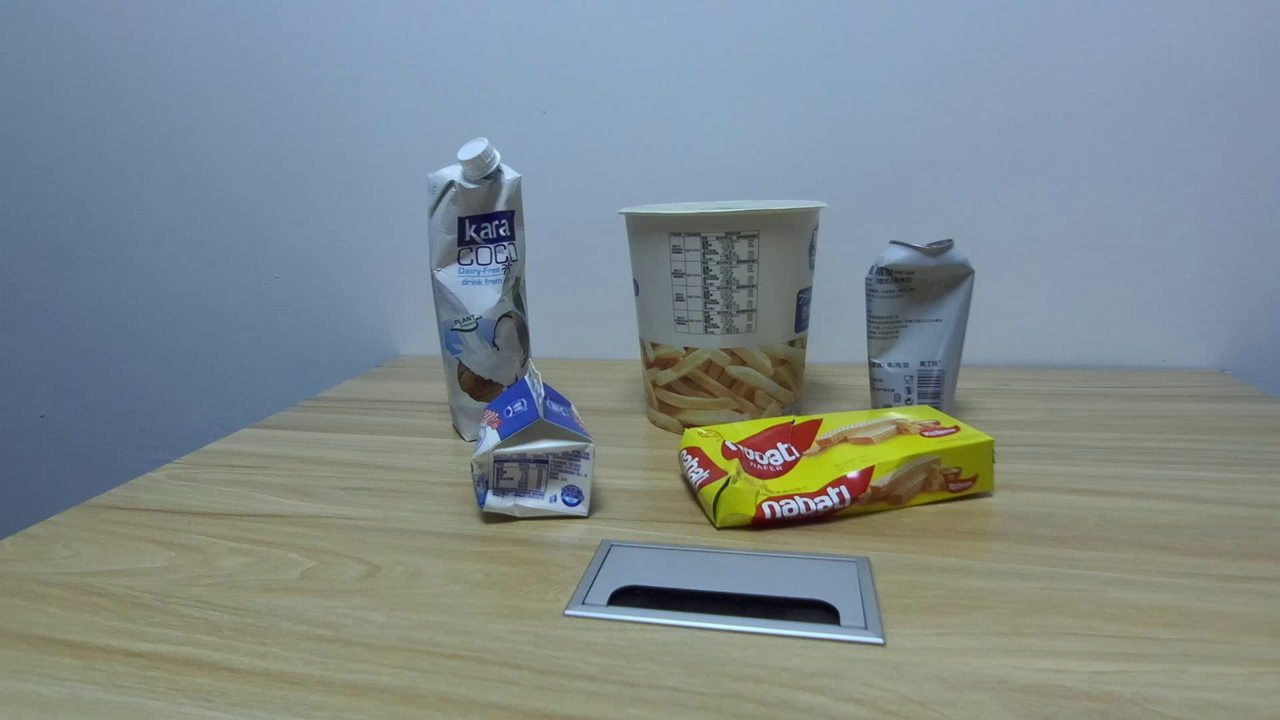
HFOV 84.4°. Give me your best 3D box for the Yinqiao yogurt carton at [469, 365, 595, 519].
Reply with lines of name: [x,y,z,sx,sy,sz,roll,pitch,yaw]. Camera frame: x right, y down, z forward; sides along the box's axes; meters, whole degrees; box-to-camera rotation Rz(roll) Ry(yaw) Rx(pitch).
Yinqiao yogurt carton: [-0.077,0.054,0.492,0.080,0.097,0.074,0,17,-13]

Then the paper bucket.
paper bucket: [0.076,-0.044,0.655,0.198,0.194,0.198,-2,14,1]

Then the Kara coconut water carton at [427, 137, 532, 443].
Kara coconut water carton: [-0.141,-0.062,0.629,0.083,0.255,0.078,-5,17,-13]

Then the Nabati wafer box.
Nabati wafer box: [0.136,0.073,0.503,0.204,0.042,0.106,-5,13,-9]
